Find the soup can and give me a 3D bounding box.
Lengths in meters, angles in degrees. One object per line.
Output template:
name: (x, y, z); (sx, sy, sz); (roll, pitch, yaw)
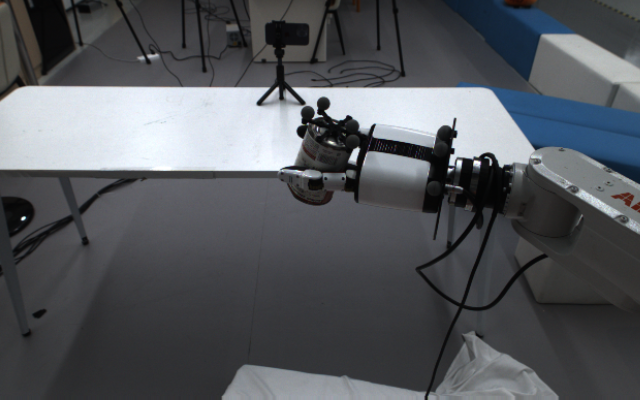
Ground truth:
soup can: (0.002, -0.051, 0.655); (0.067, 0.101, 0.067); (14, 39, -12)
